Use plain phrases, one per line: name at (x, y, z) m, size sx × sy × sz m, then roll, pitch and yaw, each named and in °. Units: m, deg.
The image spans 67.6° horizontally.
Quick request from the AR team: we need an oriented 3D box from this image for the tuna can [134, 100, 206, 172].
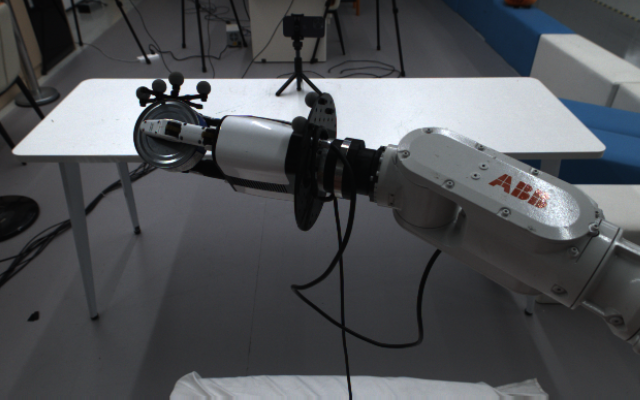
tuna can at (-0.178, -0.076, 0.595) m, size 0.085 × 0.085 × 0.034 m, roll 9°, pitch -6°, yaw 10°
